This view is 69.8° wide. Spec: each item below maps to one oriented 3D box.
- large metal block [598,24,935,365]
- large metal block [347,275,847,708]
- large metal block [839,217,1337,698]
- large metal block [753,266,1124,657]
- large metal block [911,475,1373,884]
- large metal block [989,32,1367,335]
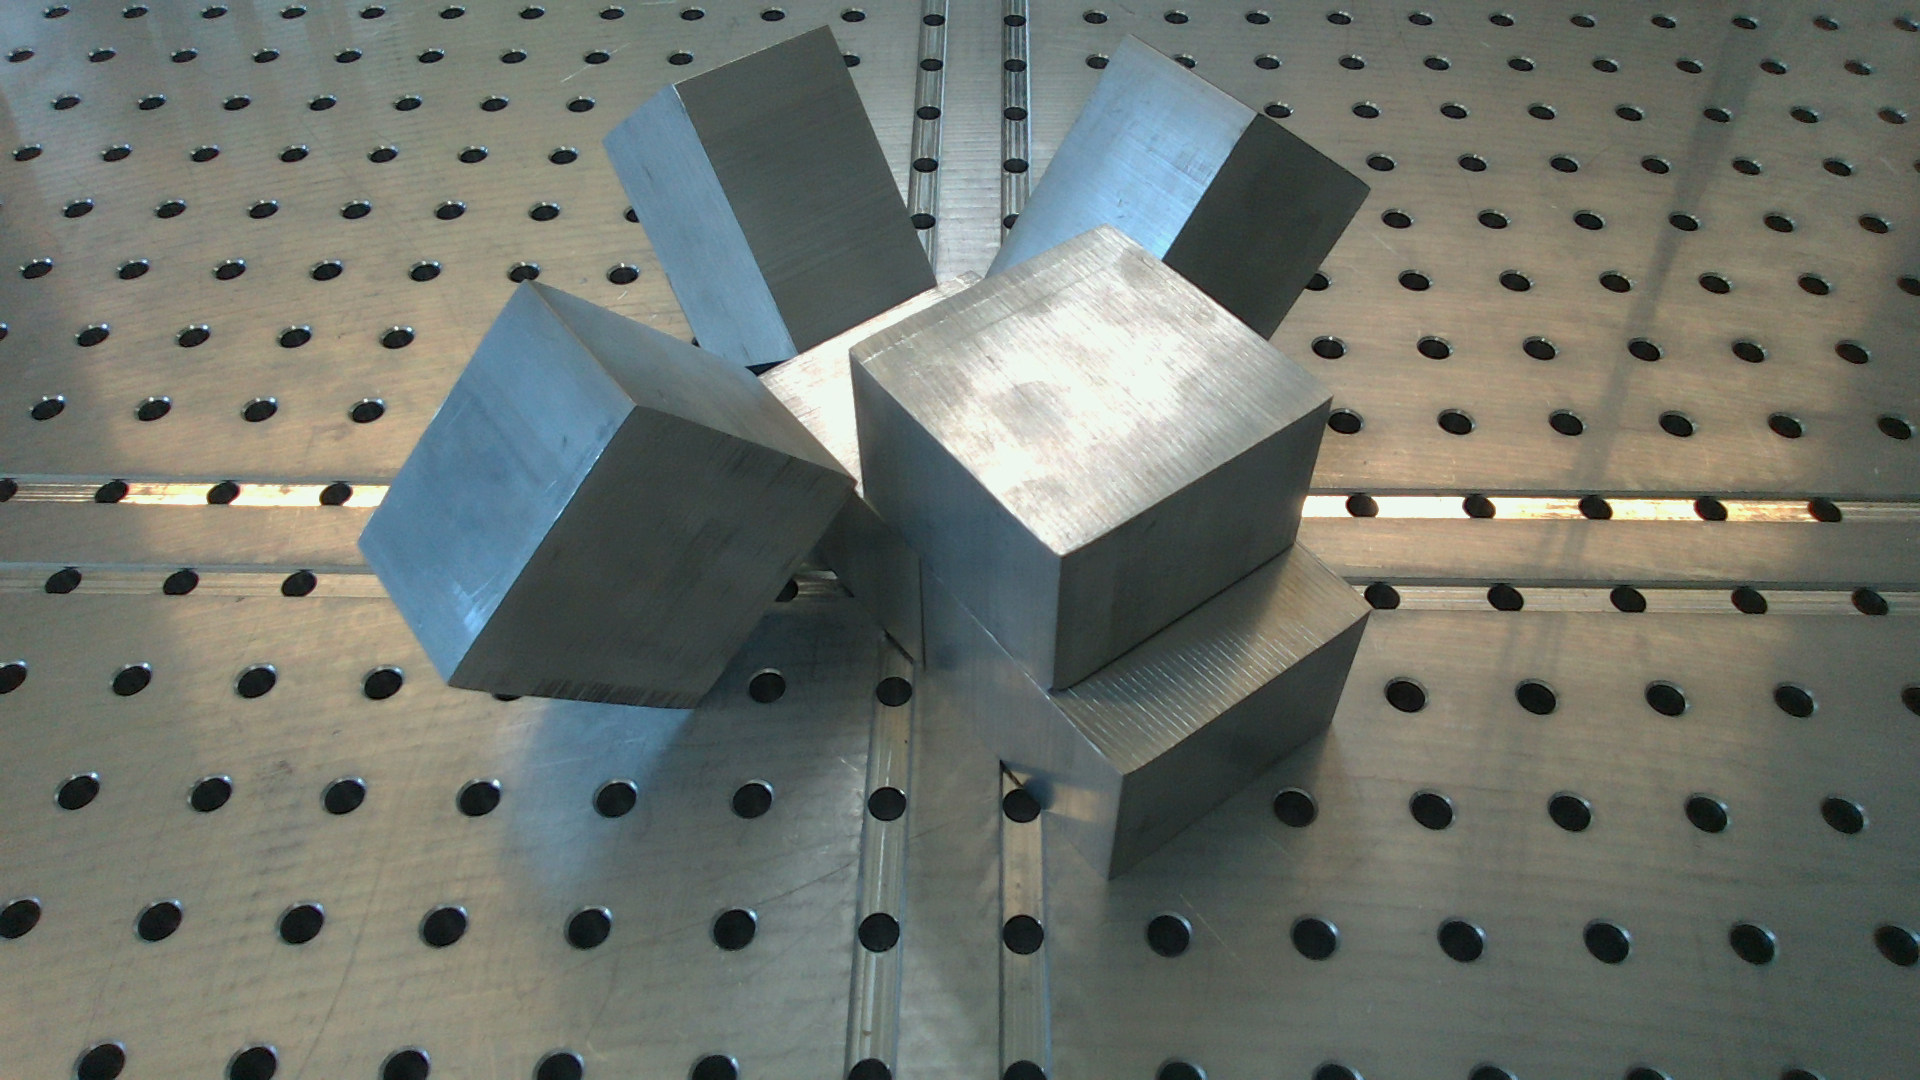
[{"bbox_3d":[-0.061,-0.101,0.423,0.050,0.080,0.080,-31,17,-23],"label":"large metal block"},{"bbox_3d":[-0.089,-0.008,0.345,0.050,0.080,0.080,44,104,31],"label":"large metal block"},{"bbox_3d":[0.028,-0.023,0.331,0.080,0.050,0.080,-29,56,-24],"label":"large metal block"},{"bbox_3d":[-0.004,-0.024,0.398,0.080,0.050,0.080,-31,56,-23],"label":"large metal block"},{"bbox_3d":[0.044,0.026,0.355,0.080,0.050,0.080,-29,54,-23],"label":"large metal block"},{"bbox_3d":[0.065,-0.093,0.417,0.050,0.080,0.080,44,23,31],"label":"large metal block"}]
